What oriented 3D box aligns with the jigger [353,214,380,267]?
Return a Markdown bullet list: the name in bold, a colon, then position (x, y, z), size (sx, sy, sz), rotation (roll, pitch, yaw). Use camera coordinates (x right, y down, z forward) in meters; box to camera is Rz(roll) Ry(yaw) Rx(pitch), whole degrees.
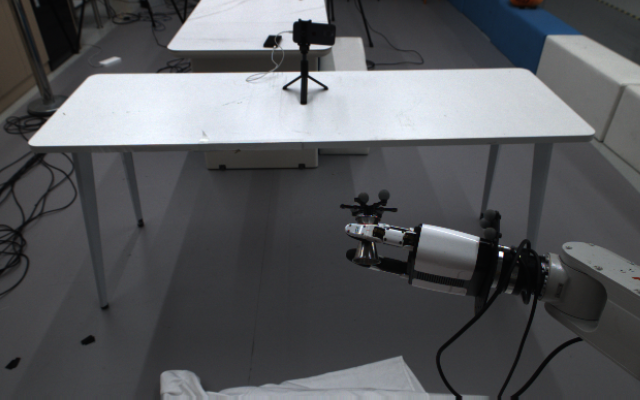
- **jigger**: position (0.071, 0.060, 0.744), size (0.043, 0.043, 0.071), rotation (4, 71, 3)
